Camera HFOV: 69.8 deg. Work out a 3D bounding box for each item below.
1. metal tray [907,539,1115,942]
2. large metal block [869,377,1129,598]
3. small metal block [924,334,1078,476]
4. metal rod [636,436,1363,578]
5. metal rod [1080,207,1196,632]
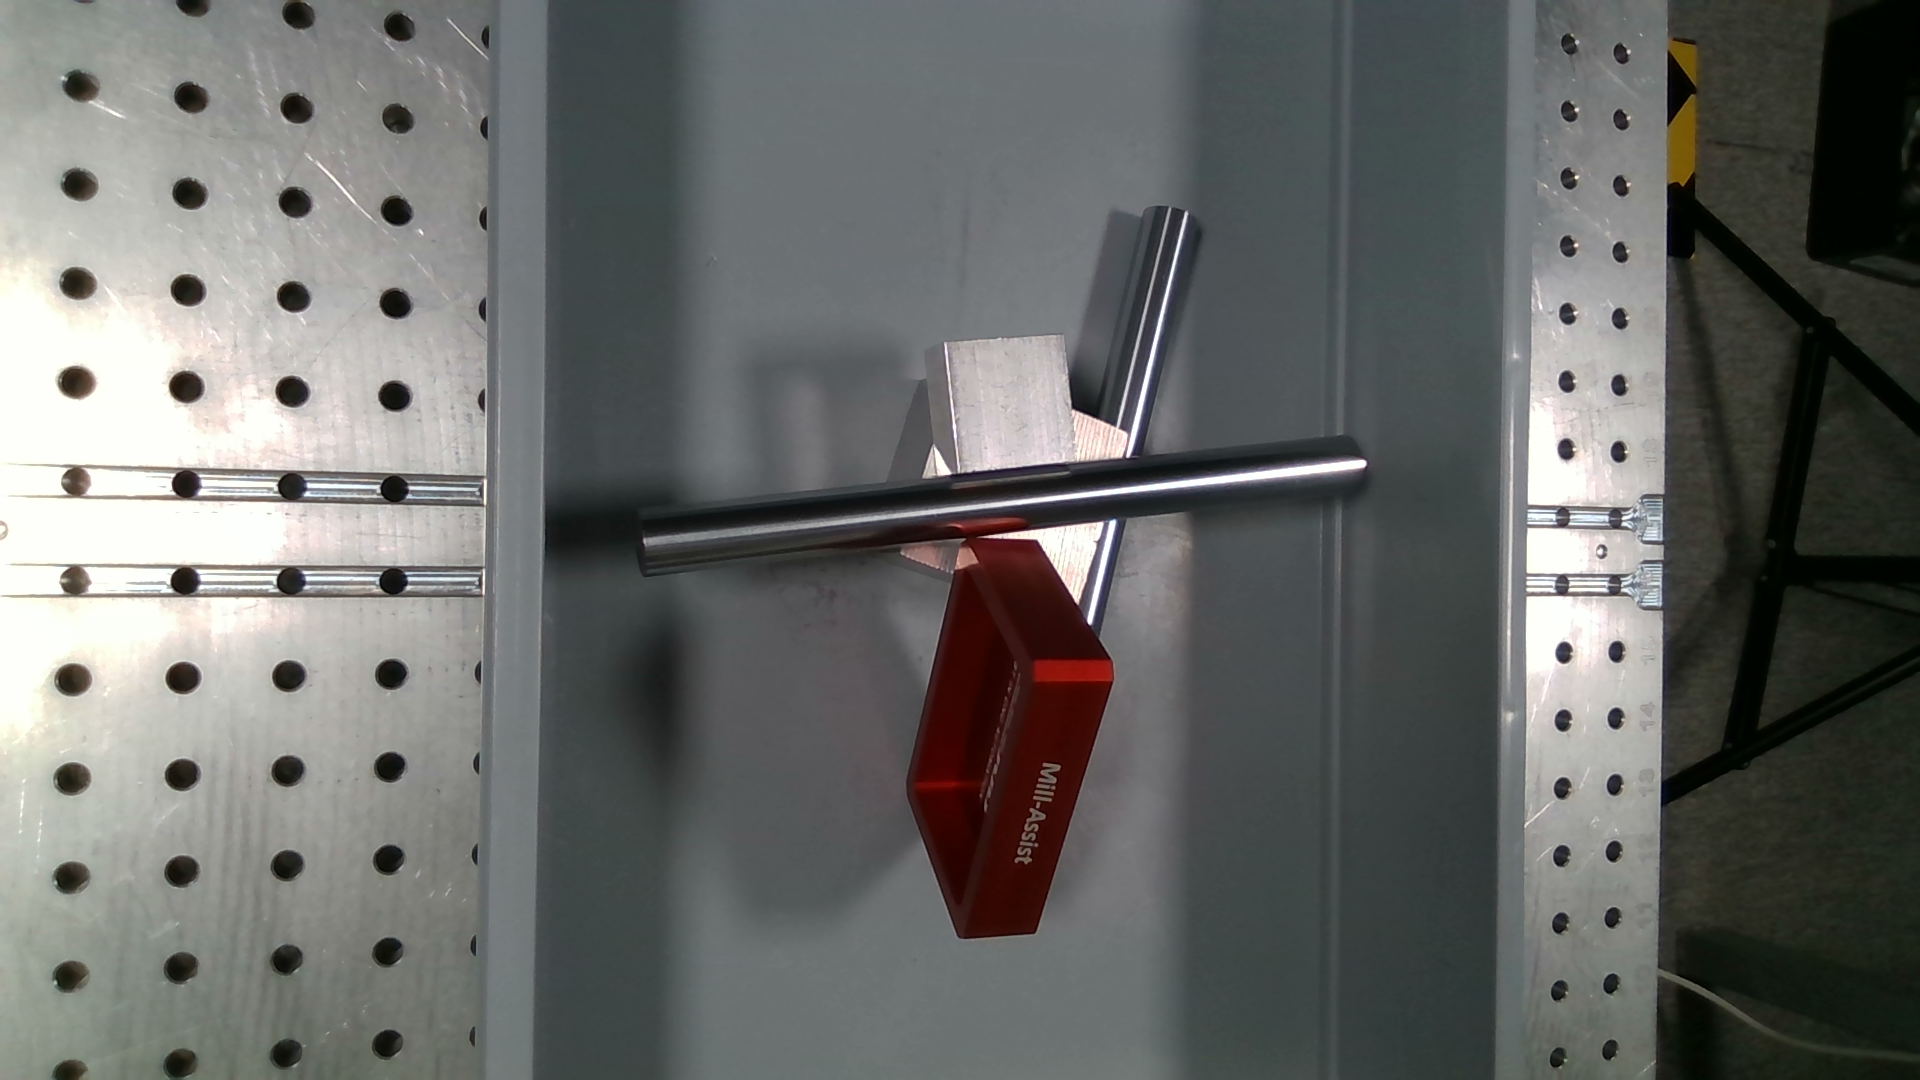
[{"bbox_3d":[0.015,0.076,0.528,0.030,0.090,0.130,1,121,-20],"label":"metal tray"},{"bbox_3d":[0.014,-0.019,0.577,0.080,0.050,0.080,19,84,-19],"label":"large metal block"},{"bbox_3d":[0.016,-0.052,0.537,0.050,0.025,0.050,-7,93,-21],"label":"small metal block"},{"bbox_3d":[0.026,-0.016,0.541,0.300,0.025,0.025,-7,92,-20],"label":"metal rod"},{"bbox_3d":[0.059,0.000,0.607,0.025,0.025,0.300,16,85,-20],"label":"metal rod"}]
